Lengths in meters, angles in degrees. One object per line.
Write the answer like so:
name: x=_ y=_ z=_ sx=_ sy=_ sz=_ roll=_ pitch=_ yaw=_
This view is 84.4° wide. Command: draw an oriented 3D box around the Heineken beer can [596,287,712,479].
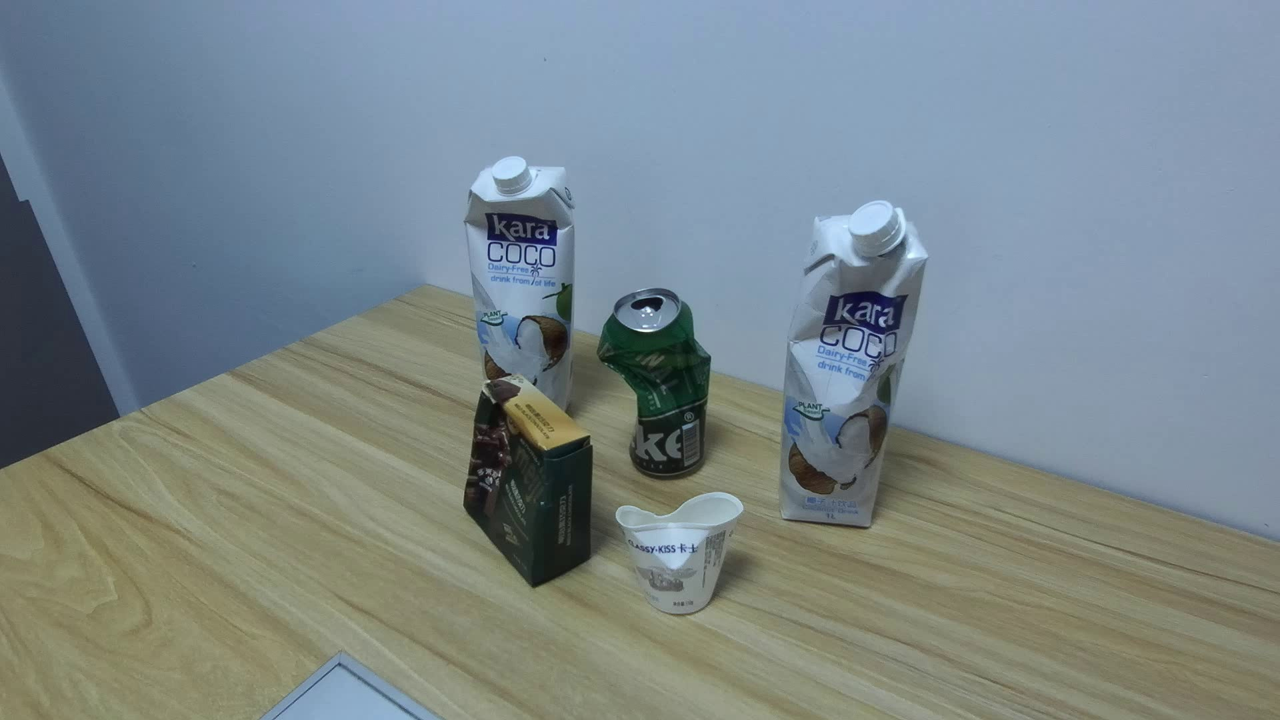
Heineken beer can: x=0.018 y=0.021 z=0.588 sx=0.067 sy=0.159 sz=0.079 roll=14 pitch=38 yaw=31

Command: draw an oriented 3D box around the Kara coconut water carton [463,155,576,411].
Kara coconut water carton: x=-0.100 y=-0.058 z=0.632 sx=0.099 sy=0.244 sz=0.071 roll=1 pitch=26 yaw=6

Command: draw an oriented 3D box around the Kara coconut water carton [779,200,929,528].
Kara coconut water carton: x=0.149 y=0.004 z=0.514 sx=0.083 sy=0.256 sz=0.078 roll=10 pitch=32 yaw=16

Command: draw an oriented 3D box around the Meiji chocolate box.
Meiji chocolate box: x=-0.084 y=0.085 z=0.524 sx=0.058 sy=0.111 sz=0.112 roll=-15 pitch=32 yaw=-35

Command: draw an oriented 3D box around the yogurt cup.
yogurt cup: x=0.027 y=0.127 z=0.479 sx=0.076 sy=0.071 sz=0.053 roll=-19 pitch=35 yaw=-28
